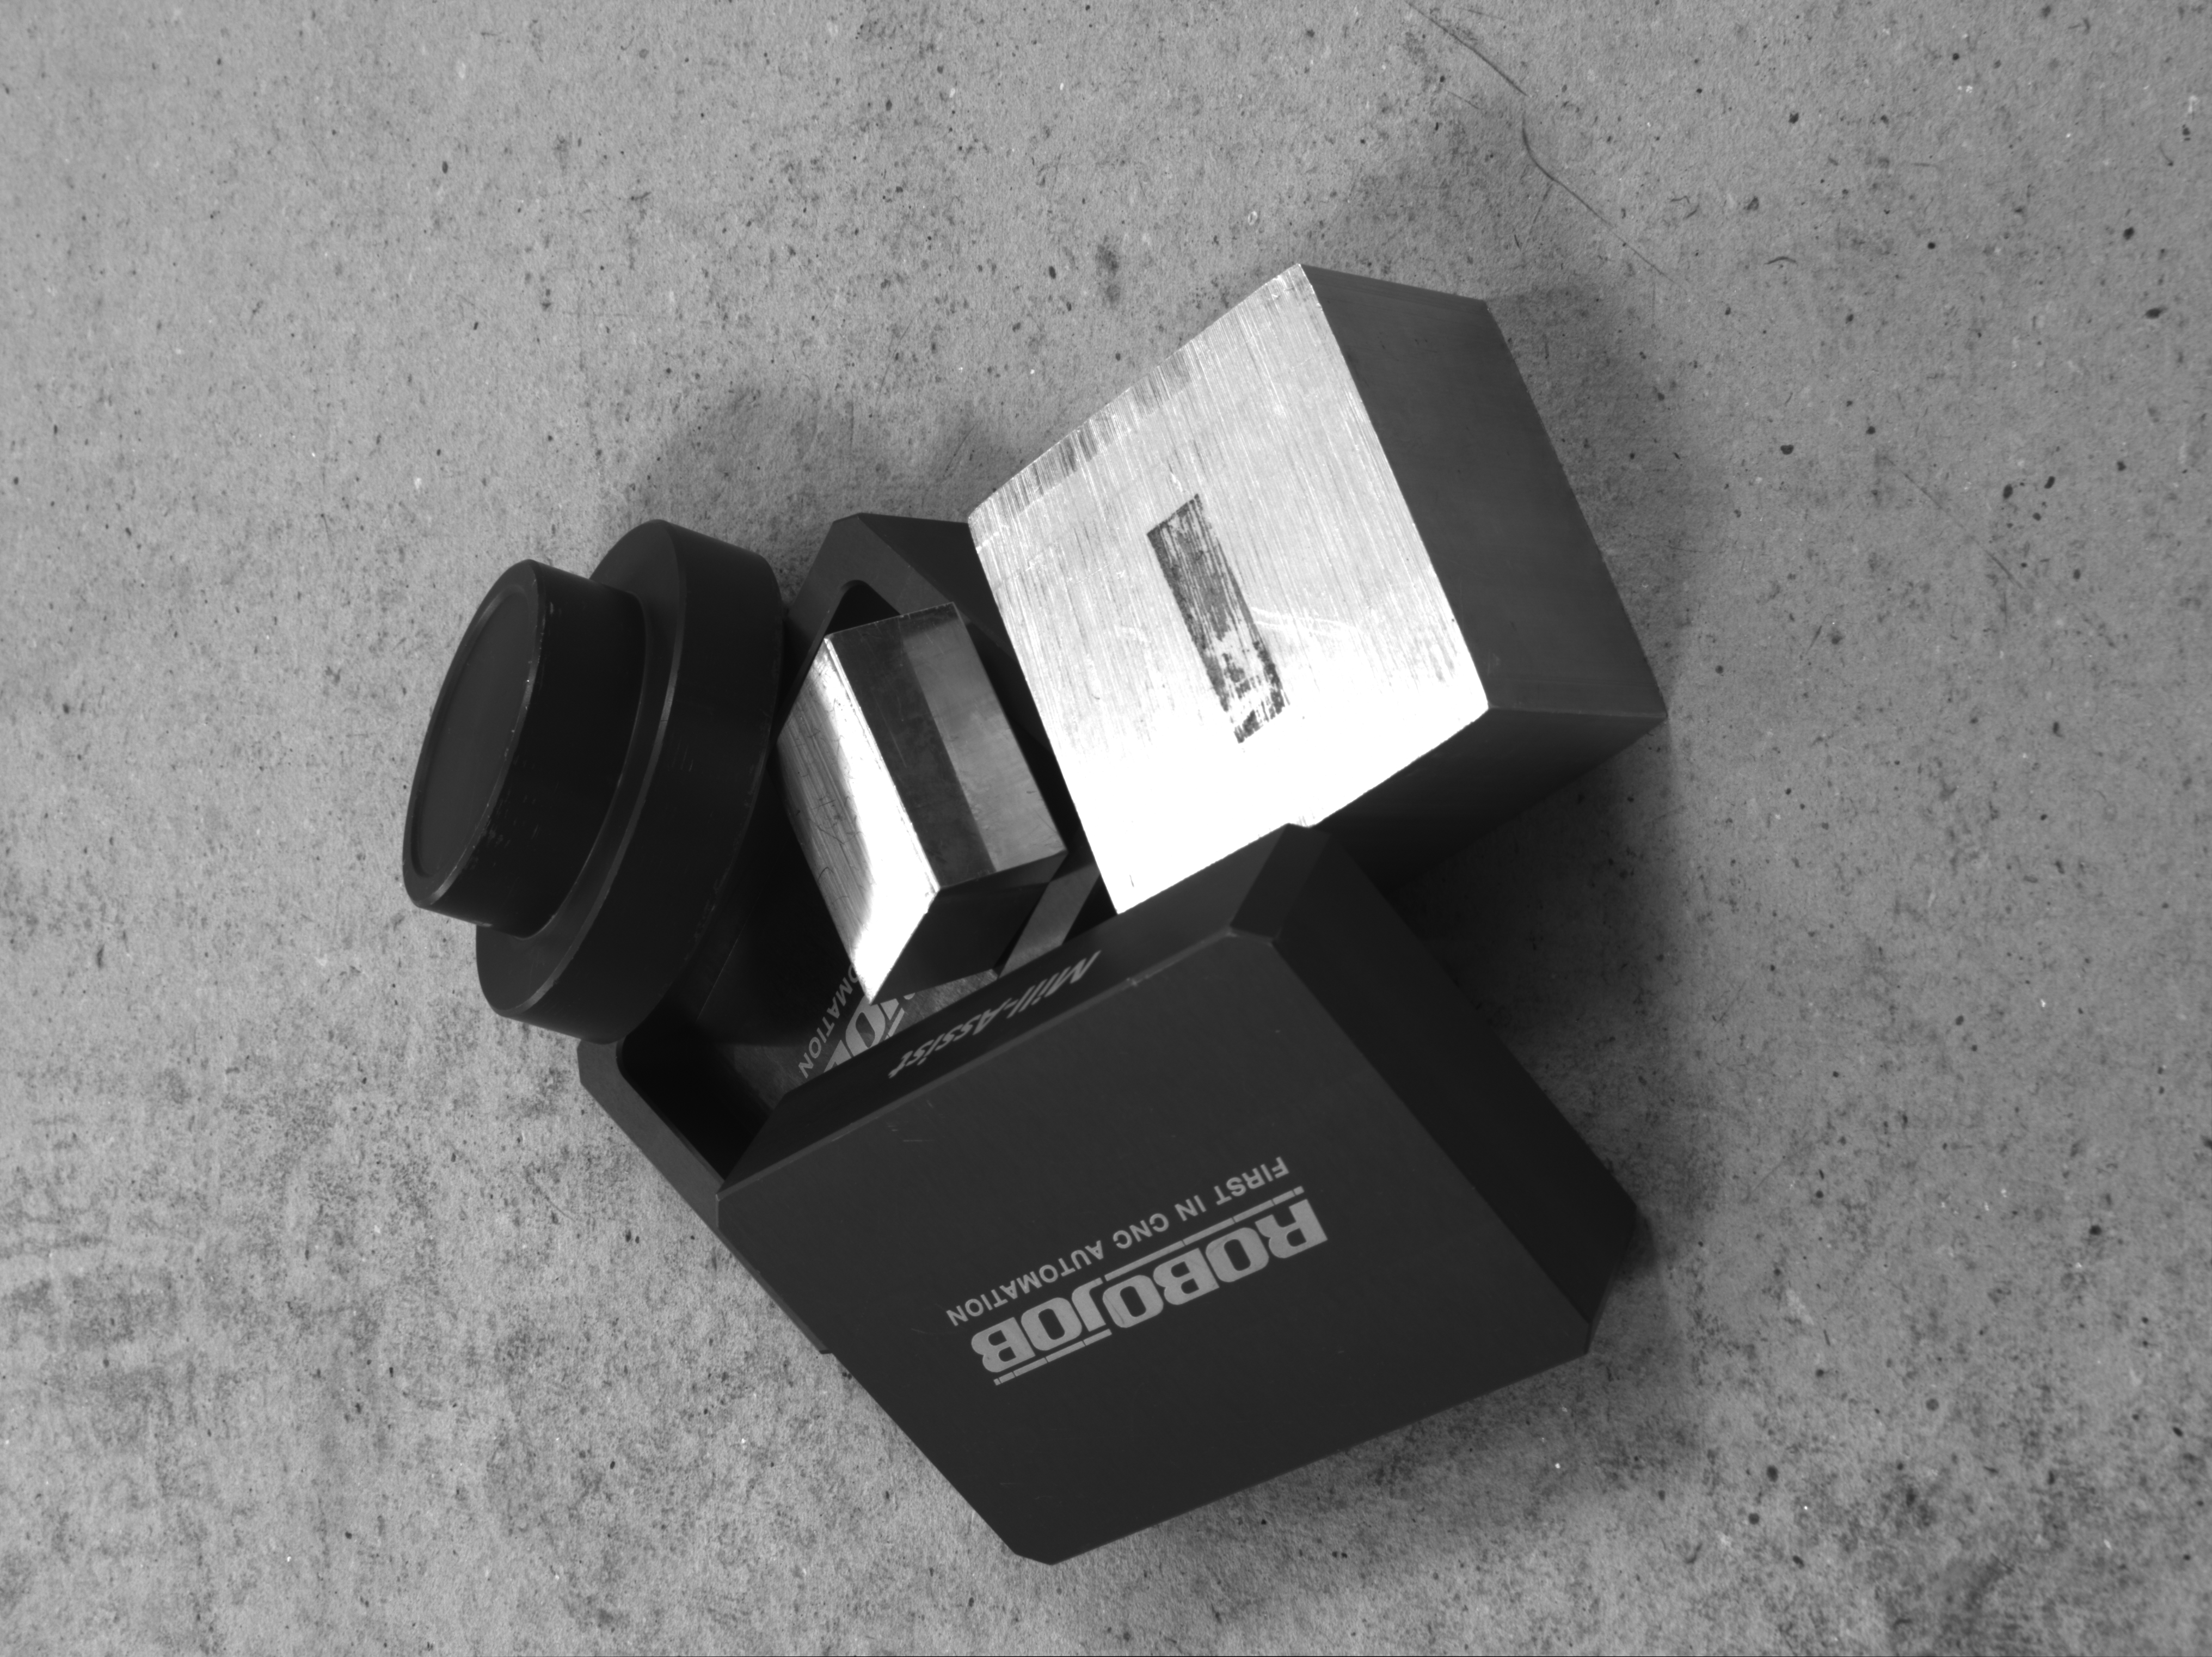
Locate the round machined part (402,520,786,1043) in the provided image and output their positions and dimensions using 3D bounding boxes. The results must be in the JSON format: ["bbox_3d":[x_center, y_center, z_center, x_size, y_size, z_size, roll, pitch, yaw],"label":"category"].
[{"bbox_3d":[-0.100,-0.012,0.692,0.098,0.042,0.098,-46,33,44],"label":"round machined part"}]

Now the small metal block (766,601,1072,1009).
[{"bbox_3d":[-0.034,-0.004,0.644,0.050,0.025,0.050,65,154,18],"label":"small metal block"}]

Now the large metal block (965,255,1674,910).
[{"bbox_3d":[0.033,-0.035,0.602,0.080,0.050,0.080,-34,69,35],"label":"large metal block"}]

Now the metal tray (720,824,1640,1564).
[{"bbox_3d":[0.010,0.064,0.604,0.130,0.030,0.090,-29,108,37],"label":"metal tray"}]

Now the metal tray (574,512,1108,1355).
[{"bbox_3d":[-0.039,0.019,0.675,0.090,0.030,0.130,42,116,32],"label":"metal tray"}]
